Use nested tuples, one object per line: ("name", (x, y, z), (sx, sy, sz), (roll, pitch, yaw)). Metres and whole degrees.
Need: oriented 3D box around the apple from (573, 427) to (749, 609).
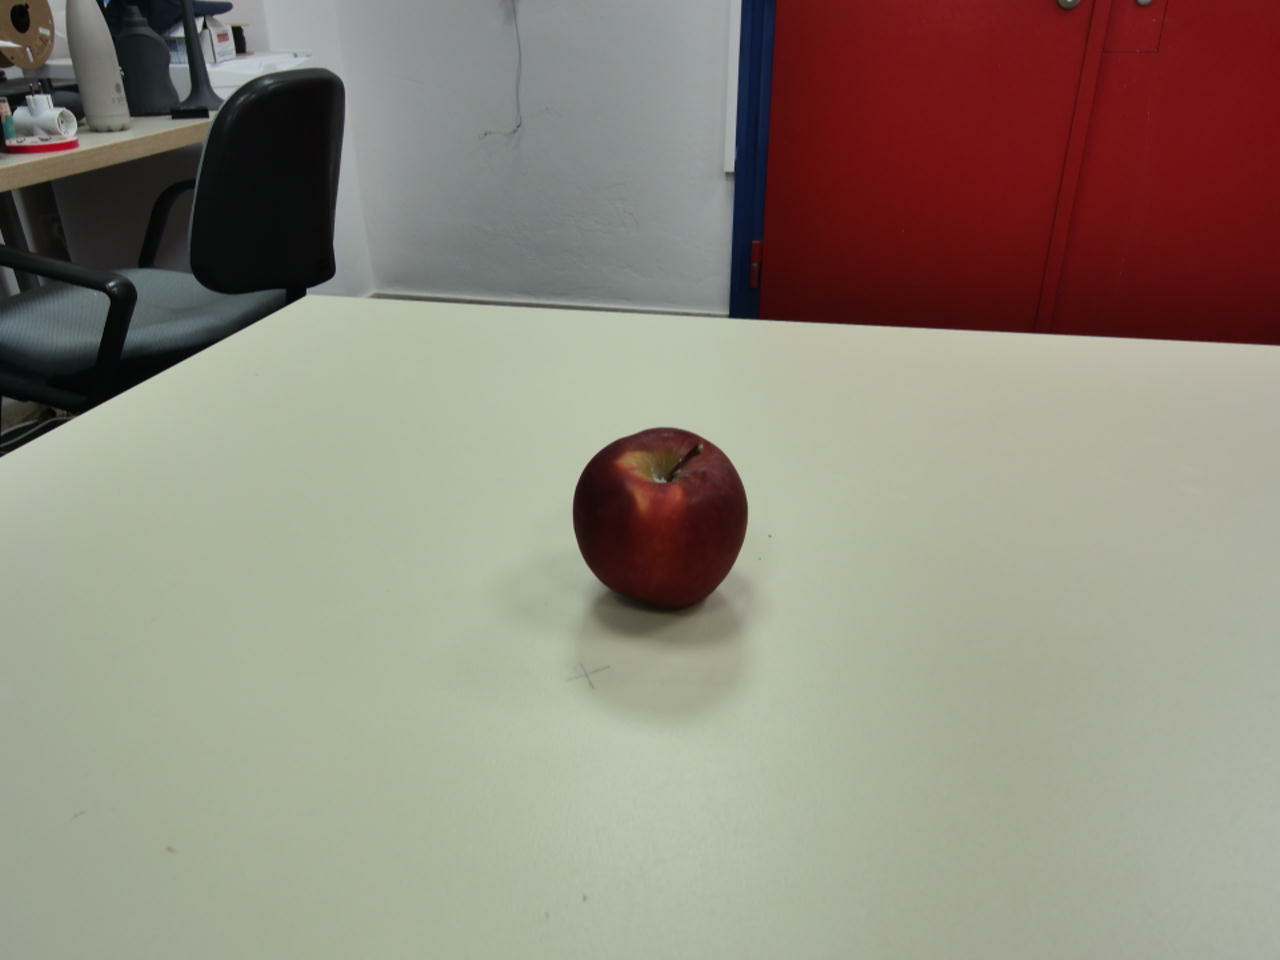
("apple", (0.009, 0.015, 0.395), (0.070, 0.072, 0.070), (1, 24, 0))
